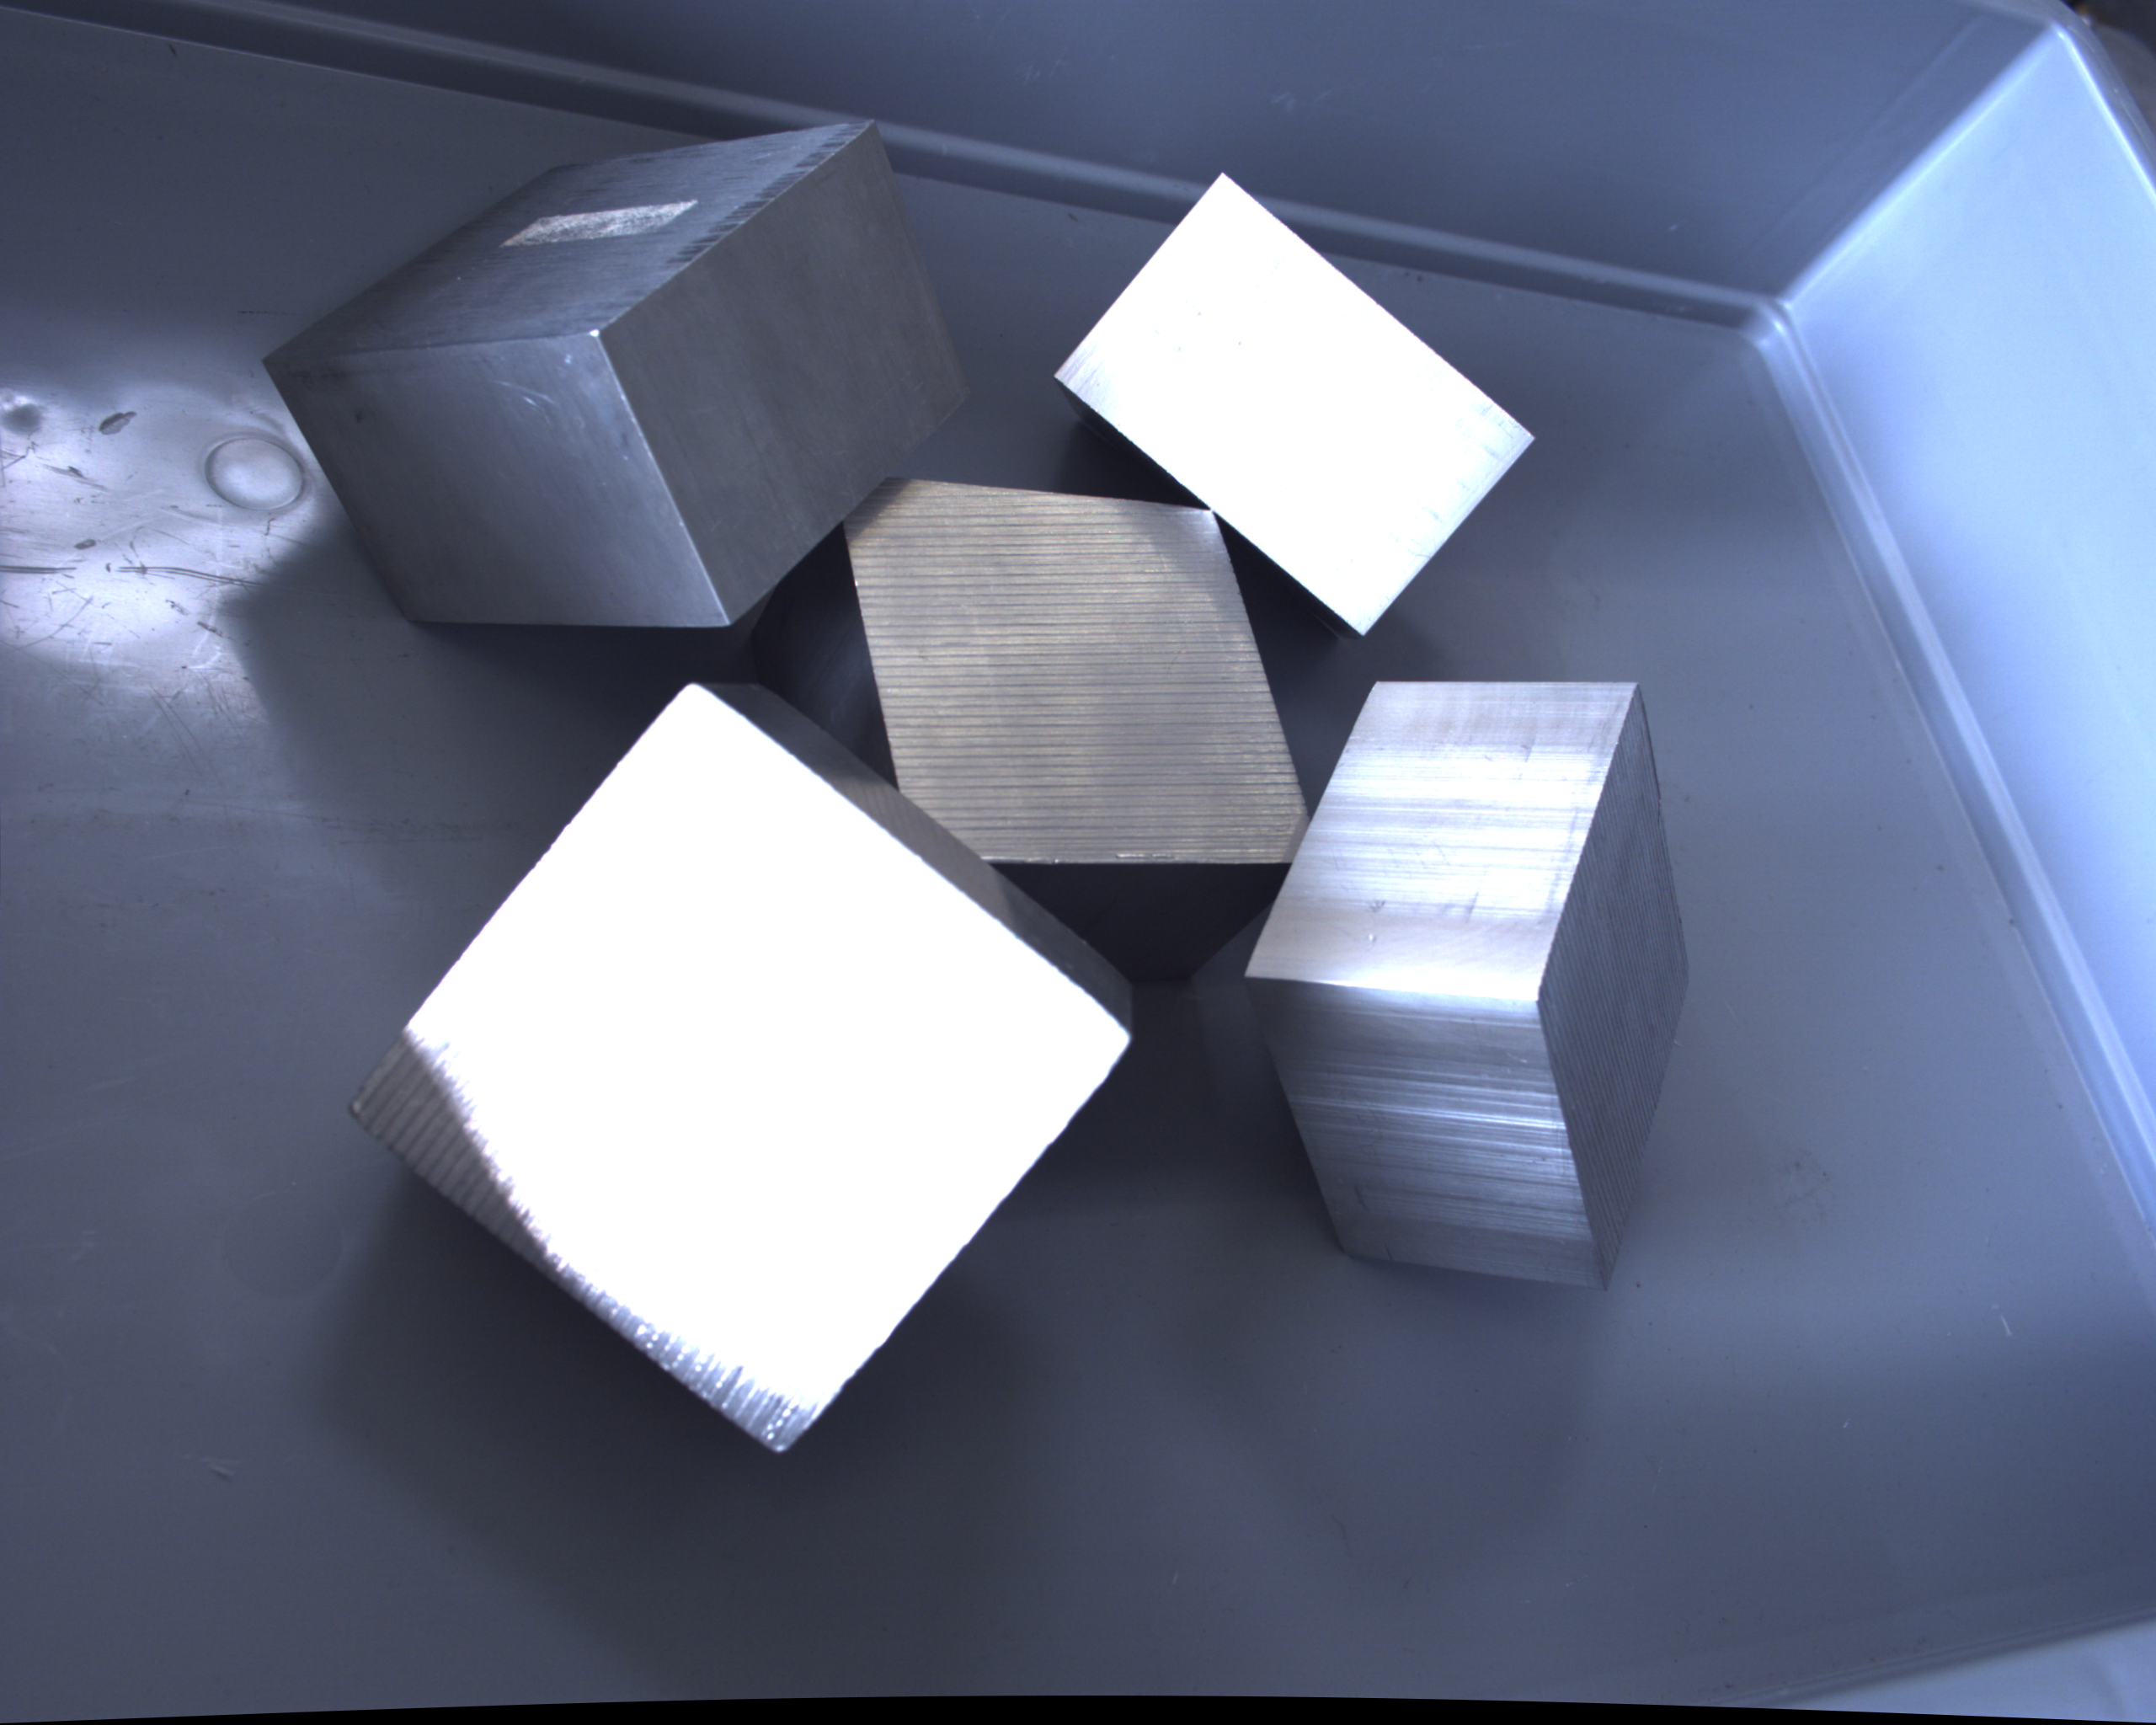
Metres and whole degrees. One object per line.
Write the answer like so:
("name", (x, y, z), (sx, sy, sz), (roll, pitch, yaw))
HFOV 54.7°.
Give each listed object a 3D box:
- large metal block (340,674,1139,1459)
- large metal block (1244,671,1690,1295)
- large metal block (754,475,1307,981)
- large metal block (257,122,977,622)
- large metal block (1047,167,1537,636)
("large metal block", (-0.047, 0.027, 0.319), (0.080, 0.050, 0.080), (39, 95, -2))
("large metal block", (0.077, 0.021, 0.388), (0.080, 0.050, 0.080), (-62, 144, -39))
("large metal block", (-0.010, -0.024, 0.395), (0.081, 0.050, 0.080), (1, 62, -28))
("large metal block", (-0.078, -0.086, 0.368), (0.080, 0.080, 0.050), (-54, 137, -39))
("large metal block", (0.044, -0.093, 0.441), (0.080, 0.050, 0.080), (39, 8, -1))
